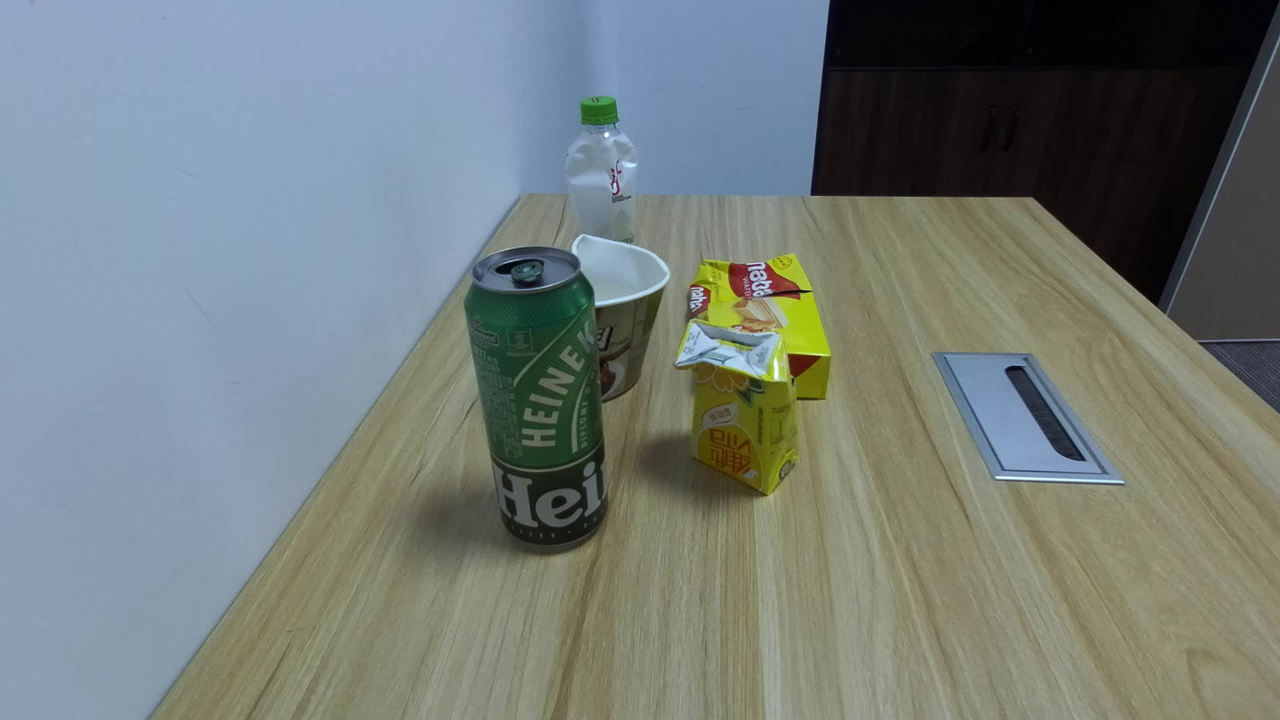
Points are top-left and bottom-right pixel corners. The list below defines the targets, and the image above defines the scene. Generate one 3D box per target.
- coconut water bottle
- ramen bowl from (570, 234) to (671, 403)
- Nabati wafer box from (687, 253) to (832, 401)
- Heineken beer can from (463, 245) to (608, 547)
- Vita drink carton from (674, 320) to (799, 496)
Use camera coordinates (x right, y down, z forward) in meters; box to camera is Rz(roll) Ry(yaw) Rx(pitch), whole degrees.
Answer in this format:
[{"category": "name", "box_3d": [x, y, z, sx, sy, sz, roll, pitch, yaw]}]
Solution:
[{"category": "coconut water bottle", "box_3d": [-0.035, -0.134, 0.635, 0.069, 0.186, 0.069, 0, 26, 0]}, {"category": "ramen bowl", "box_3d": [-0.046, -0.028, 0.552, 0.137, 0.098, 0.137, -2, 35, 2]}, {"category": "Nabati wafer box", "box_3d": [0.098, -0.040, 0.617, 0.107, 0.042, 0.204, 3, 30, 2]}, {"category": "Heineken beer can", "box_3d": [-0.054, 0.026, 0.396, 0.067, 0.169, 0.067, -1, 31, 1]}, {"category": "Vita drink carton", "box_3d": [0.061, 0.030, 0.445, 0.086, 0.108, 0.042, 20, 51, 38]}]
